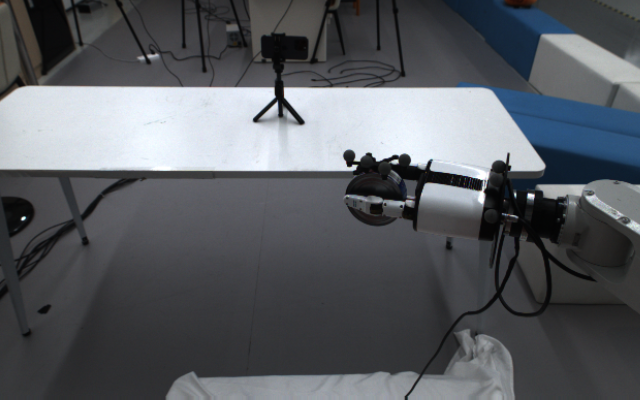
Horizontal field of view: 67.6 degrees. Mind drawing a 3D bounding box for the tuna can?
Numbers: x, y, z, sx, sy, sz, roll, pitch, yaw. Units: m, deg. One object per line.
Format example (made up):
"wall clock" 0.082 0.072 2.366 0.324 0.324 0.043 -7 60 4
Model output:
"tuna can" 0.084 -0.009 0.707 0.085 0.085 0.034 13 29 16
